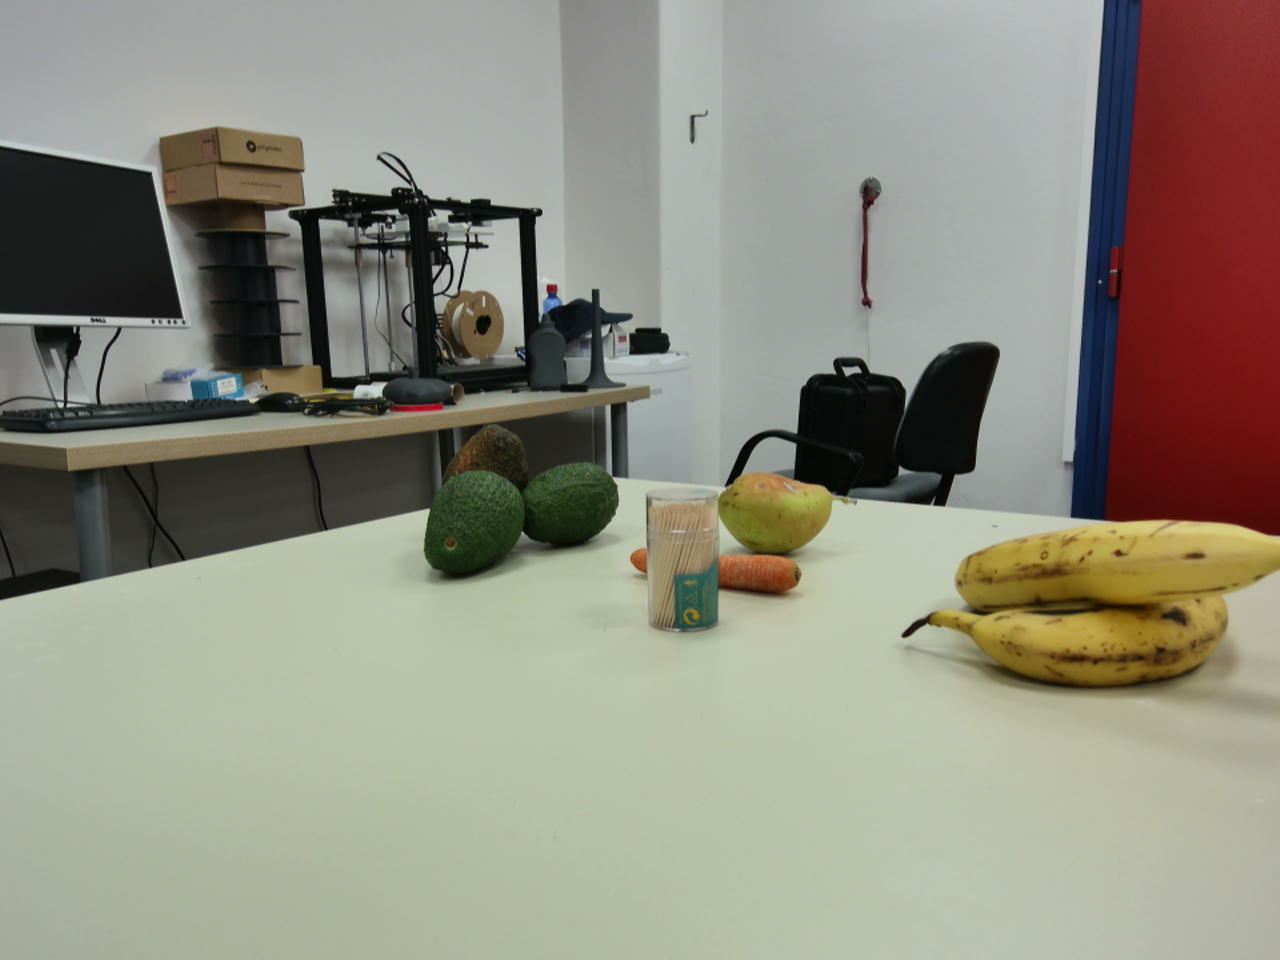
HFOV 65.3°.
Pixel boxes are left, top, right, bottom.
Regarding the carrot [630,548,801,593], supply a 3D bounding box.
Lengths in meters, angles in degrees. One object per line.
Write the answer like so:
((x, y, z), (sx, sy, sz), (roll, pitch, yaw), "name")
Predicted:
((0.047, 0.057, 0.652), (0.122, 0.023, 0.024), (5, 8, 32), "carrot")
